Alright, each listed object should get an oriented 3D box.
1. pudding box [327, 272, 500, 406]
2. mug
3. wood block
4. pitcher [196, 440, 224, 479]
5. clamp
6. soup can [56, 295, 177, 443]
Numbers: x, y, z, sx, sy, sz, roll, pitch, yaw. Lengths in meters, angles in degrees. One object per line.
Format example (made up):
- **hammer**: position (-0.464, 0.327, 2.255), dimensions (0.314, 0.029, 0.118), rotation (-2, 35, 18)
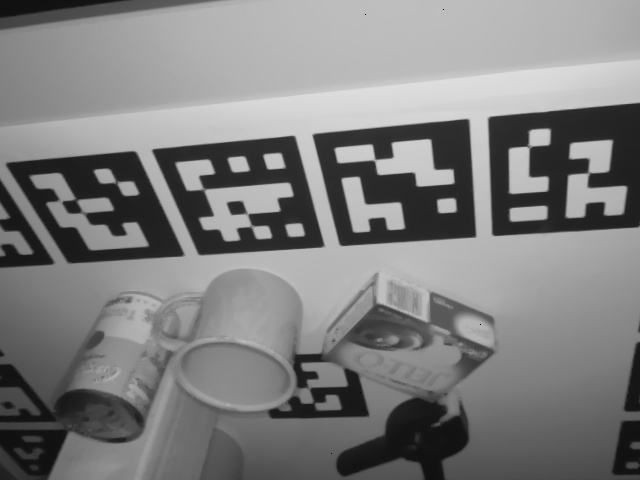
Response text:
- **pudding box**: position (0.076, 0.084, 0.574), dimensions (0.114, 0.039, 0.088), rotation (24, 125, -15)
- **mug**: position (-0.074, 0.074, 0.550), dimensions (0.118, 0.082, 0.092), rotation (23, 131, -14)
- **wood block**: position (-0.168, 0.206, 0.587), dimensions (0.089, 0.208, 0.090), rotation (-4, 130, 15)
- **pitcher**: position (-0.172, 0.310, 0.655), dimensions (0.188, 0.245, 0.132), rotation (-6, 131, 8)
- **clamp**: position (0.085, 0.203, 0.682), dimensions (0.122, 0.037, 0.162), rotation (22, 129, -3)
- **soup can**: position (-0.163, 0.103, 0.568), dimensions (0.068, 0.103, 0.067), rotation (3, 128, 5)
